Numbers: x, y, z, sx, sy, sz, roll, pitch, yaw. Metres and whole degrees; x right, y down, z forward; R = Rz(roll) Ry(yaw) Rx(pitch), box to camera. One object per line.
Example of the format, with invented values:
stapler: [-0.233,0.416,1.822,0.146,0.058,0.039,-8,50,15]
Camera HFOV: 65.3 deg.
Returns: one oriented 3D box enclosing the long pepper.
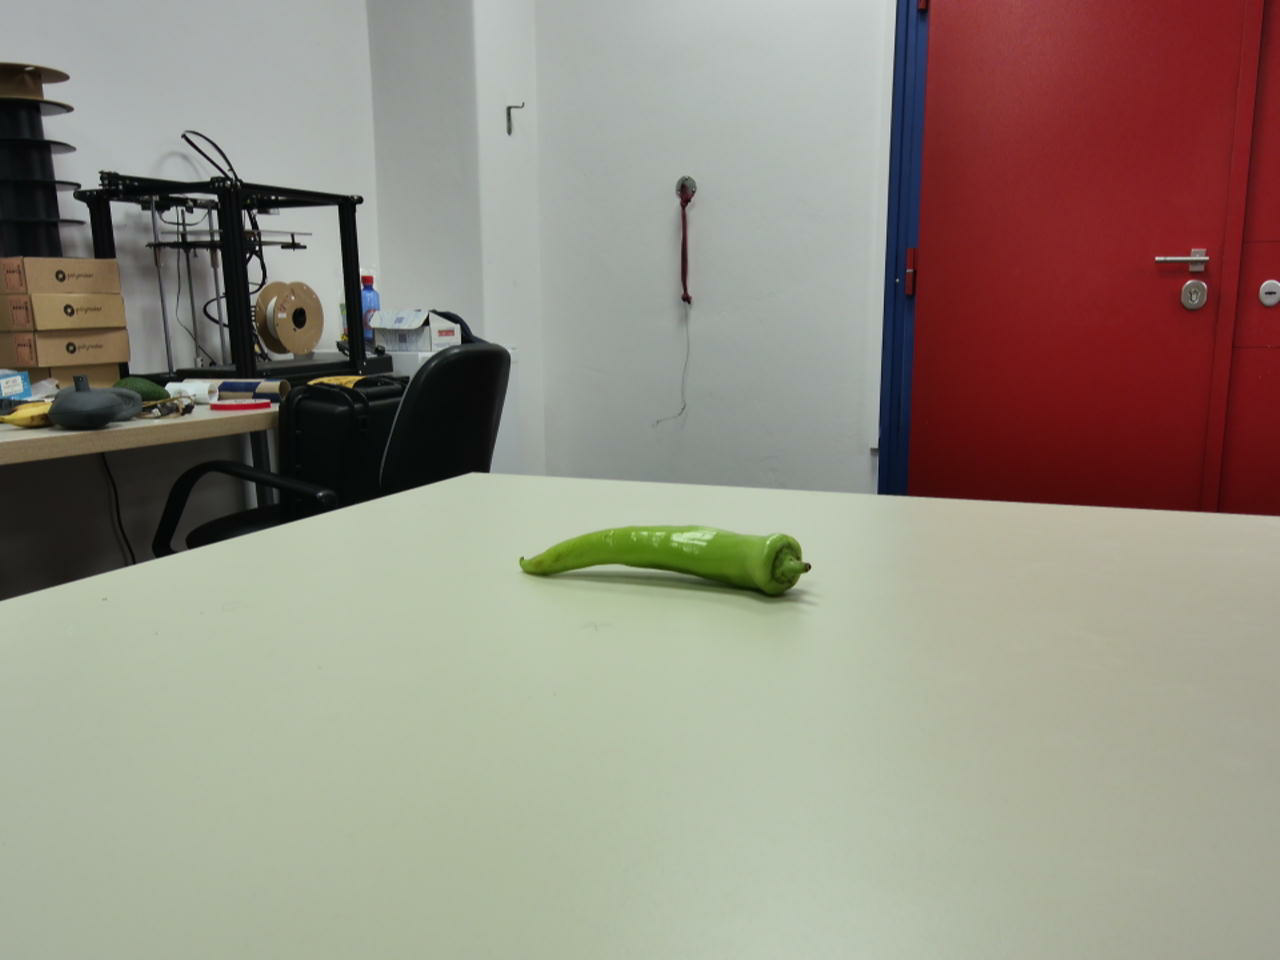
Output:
long pepper: [0.015,0.045,0.620,0.197,0.038,0.046,4,8,25]
